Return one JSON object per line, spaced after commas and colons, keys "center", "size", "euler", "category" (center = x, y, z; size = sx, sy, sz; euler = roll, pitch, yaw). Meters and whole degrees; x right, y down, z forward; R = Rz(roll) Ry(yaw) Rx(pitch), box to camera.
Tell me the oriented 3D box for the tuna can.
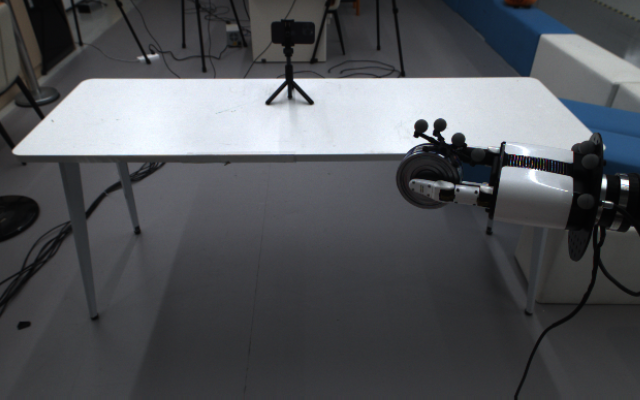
{"center": [0.148, -0.033, 0.652], "size": [0.085, 0.085, 0.034], "euler": [15, 31, 18], "category": "tuna can"}
